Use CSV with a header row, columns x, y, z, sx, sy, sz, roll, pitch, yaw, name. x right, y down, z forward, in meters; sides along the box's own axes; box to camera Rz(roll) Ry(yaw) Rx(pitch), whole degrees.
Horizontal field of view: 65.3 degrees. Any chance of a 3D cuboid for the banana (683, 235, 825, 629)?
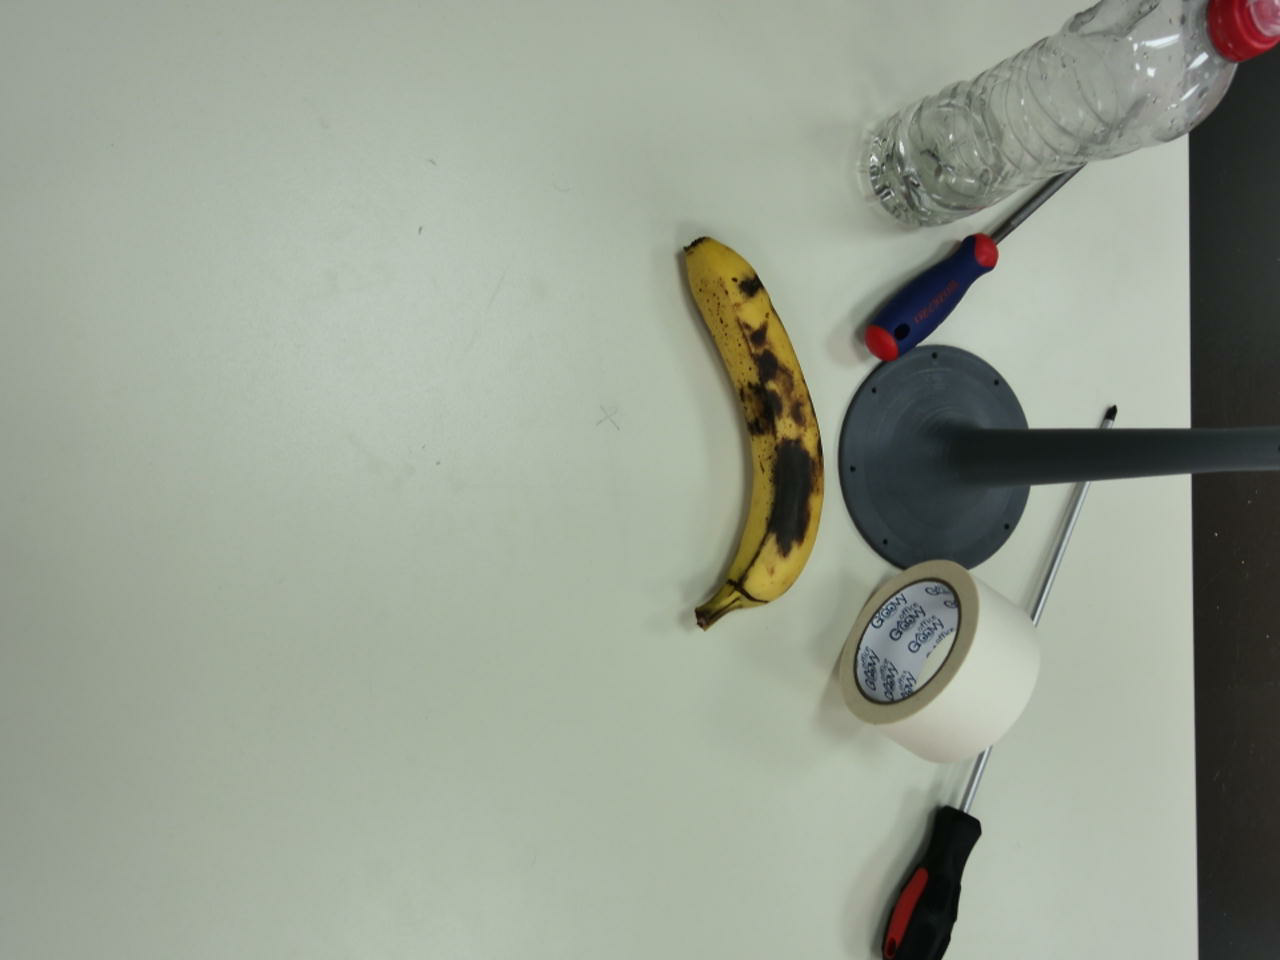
x,y,z,sx,sy,sz,roll,pitch,yaw,name
0.068,-0.027,0.577,0.084,0.038,0.222,0,90,-22,banana
